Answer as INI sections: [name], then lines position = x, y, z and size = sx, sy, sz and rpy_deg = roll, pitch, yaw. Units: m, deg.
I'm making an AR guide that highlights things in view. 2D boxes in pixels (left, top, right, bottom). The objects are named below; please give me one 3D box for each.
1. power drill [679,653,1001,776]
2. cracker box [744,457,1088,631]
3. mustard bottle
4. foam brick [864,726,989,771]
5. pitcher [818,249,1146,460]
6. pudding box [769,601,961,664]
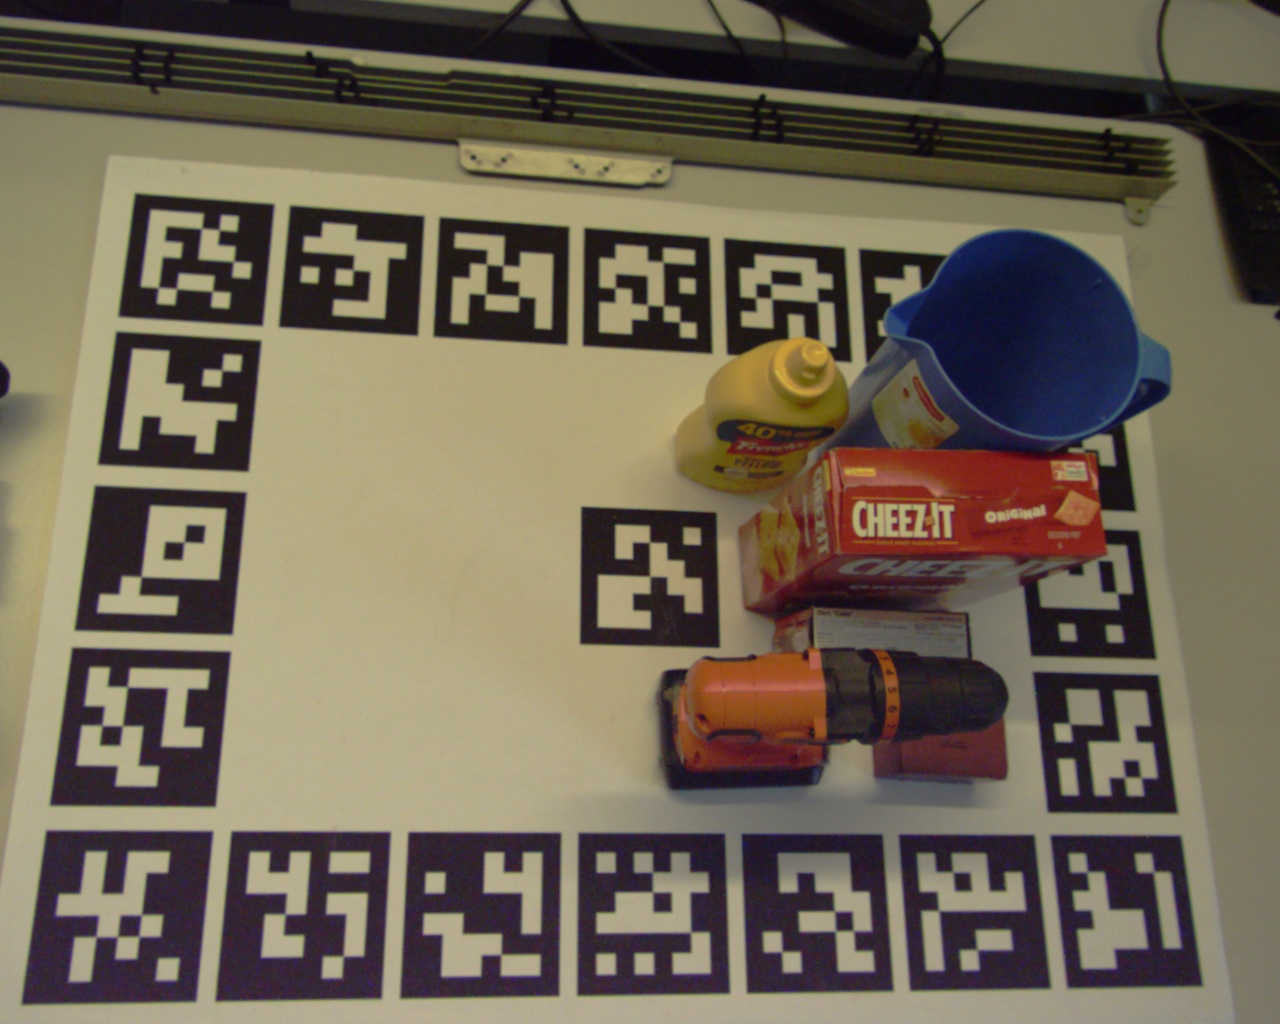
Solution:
[power drill]
position = 0.107, 0.129, 0.719
size = 0.184, 0.187, 0.057
rpy_deg = 1, 72, -9
[cracker box]
position = 0.173, 0.029, 0.772
size = 0.164, 0.214, 0.072
rpy_deg = 0, 74, -7
[mustard bottle]
position = 0.087, -0.071, 0.793
size = 0.096, 0.192, 0.058
rpy_deg = 16, 75, -5
[foam brick]
position = 0.208, 0.162, 0.832
size = 0.078, 0.051, 0.053
rpy_deg = 5, 77, -8
[pitcher]
position = 0.220, -0.069, 0.800
size = 0.188, 0.243, 0.133
rpy_deg = 8, 74, -5
[pudding box]
position = 0.157, 0.089, 0.810
size = 0.113, 0.090, 0.039
rpy_deg = 3, 74, -5
